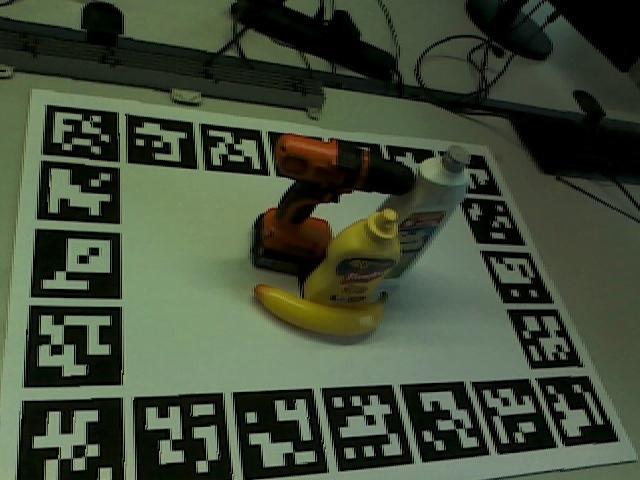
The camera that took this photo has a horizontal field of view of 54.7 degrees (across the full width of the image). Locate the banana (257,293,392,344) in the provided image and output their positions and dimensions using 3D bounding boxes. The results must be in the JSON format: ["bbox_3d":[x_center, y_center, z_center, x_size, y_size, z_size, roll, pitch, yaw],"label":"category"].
[{"bbox_3d":[0.012,0.104,0.838,0.196,0.039,0.074,6,53,-16],"label":"banana"}]

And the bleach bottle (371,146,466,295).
[{"bbox_3d":[0.117,-0.025,0.839,0.102,0.251,0.068,6,47,-20],"label":"bleach bottle"}]

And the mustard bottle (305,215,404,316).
[{"bbox_3d":[0.054,0.032,0.798,0.096,0.191,0.058,4,53,-22],"label":"mustard bottle"}]

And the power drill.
[{"bbox_3d":[0.011,-0.040,0.809,0.184,0.187,0.057,15,49,-15],"label":"power drill"}]
